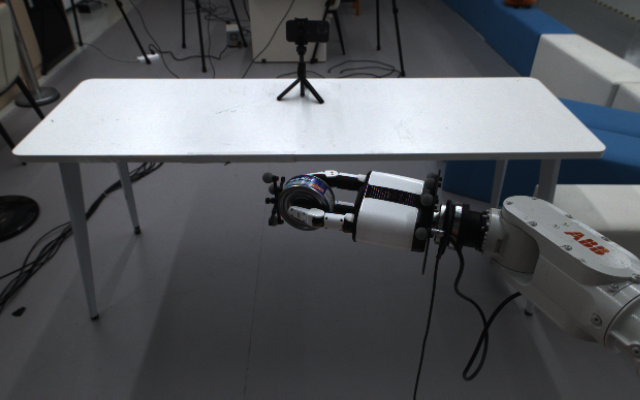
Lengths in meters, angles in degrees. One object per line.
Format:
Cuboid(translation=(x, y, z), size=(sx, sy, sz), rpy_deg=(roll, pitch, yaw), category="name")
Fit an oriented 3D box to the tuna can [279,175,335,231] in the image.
Cuboid(translation=(-0.021, 0.003, 0.751), size=(0.085, 0.085, 0.034), rpy_deg=(9, 33, 10), category="tuna can")
